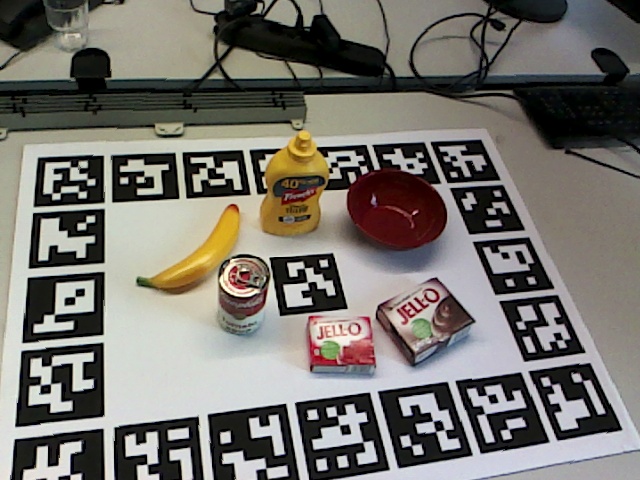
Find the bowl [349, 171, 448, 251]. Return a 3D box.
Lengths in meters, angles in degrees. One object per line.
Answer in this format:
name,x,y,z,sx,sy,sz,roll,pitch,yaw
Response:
bowl,0.123,-0.037,1.007,0.161,0.055,0.162,3,52,-5

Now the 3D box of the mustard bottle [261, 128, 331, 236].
mustard bottle,-0.034,-0.088,0.916,0.096,0.191,0.059,-4,51,-13

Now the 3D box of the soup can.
soup can,-0.113,0.070,0.840,0.068,0.102,0.068,6,50,-7

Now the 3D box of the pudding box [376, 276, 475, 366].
pudding box,0.152,0.117,0.899,0.113,0.038,0.090,-26,66,-26

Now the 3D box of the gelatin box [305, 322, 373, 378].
gelatin box,0.025,0.152,0.857,0.089,0.030,0.073,1,56,-8

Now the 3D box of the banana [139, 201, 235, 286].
banana,-0.181,0.009,0.929,0.074,0.039,0.197,23,52,21
